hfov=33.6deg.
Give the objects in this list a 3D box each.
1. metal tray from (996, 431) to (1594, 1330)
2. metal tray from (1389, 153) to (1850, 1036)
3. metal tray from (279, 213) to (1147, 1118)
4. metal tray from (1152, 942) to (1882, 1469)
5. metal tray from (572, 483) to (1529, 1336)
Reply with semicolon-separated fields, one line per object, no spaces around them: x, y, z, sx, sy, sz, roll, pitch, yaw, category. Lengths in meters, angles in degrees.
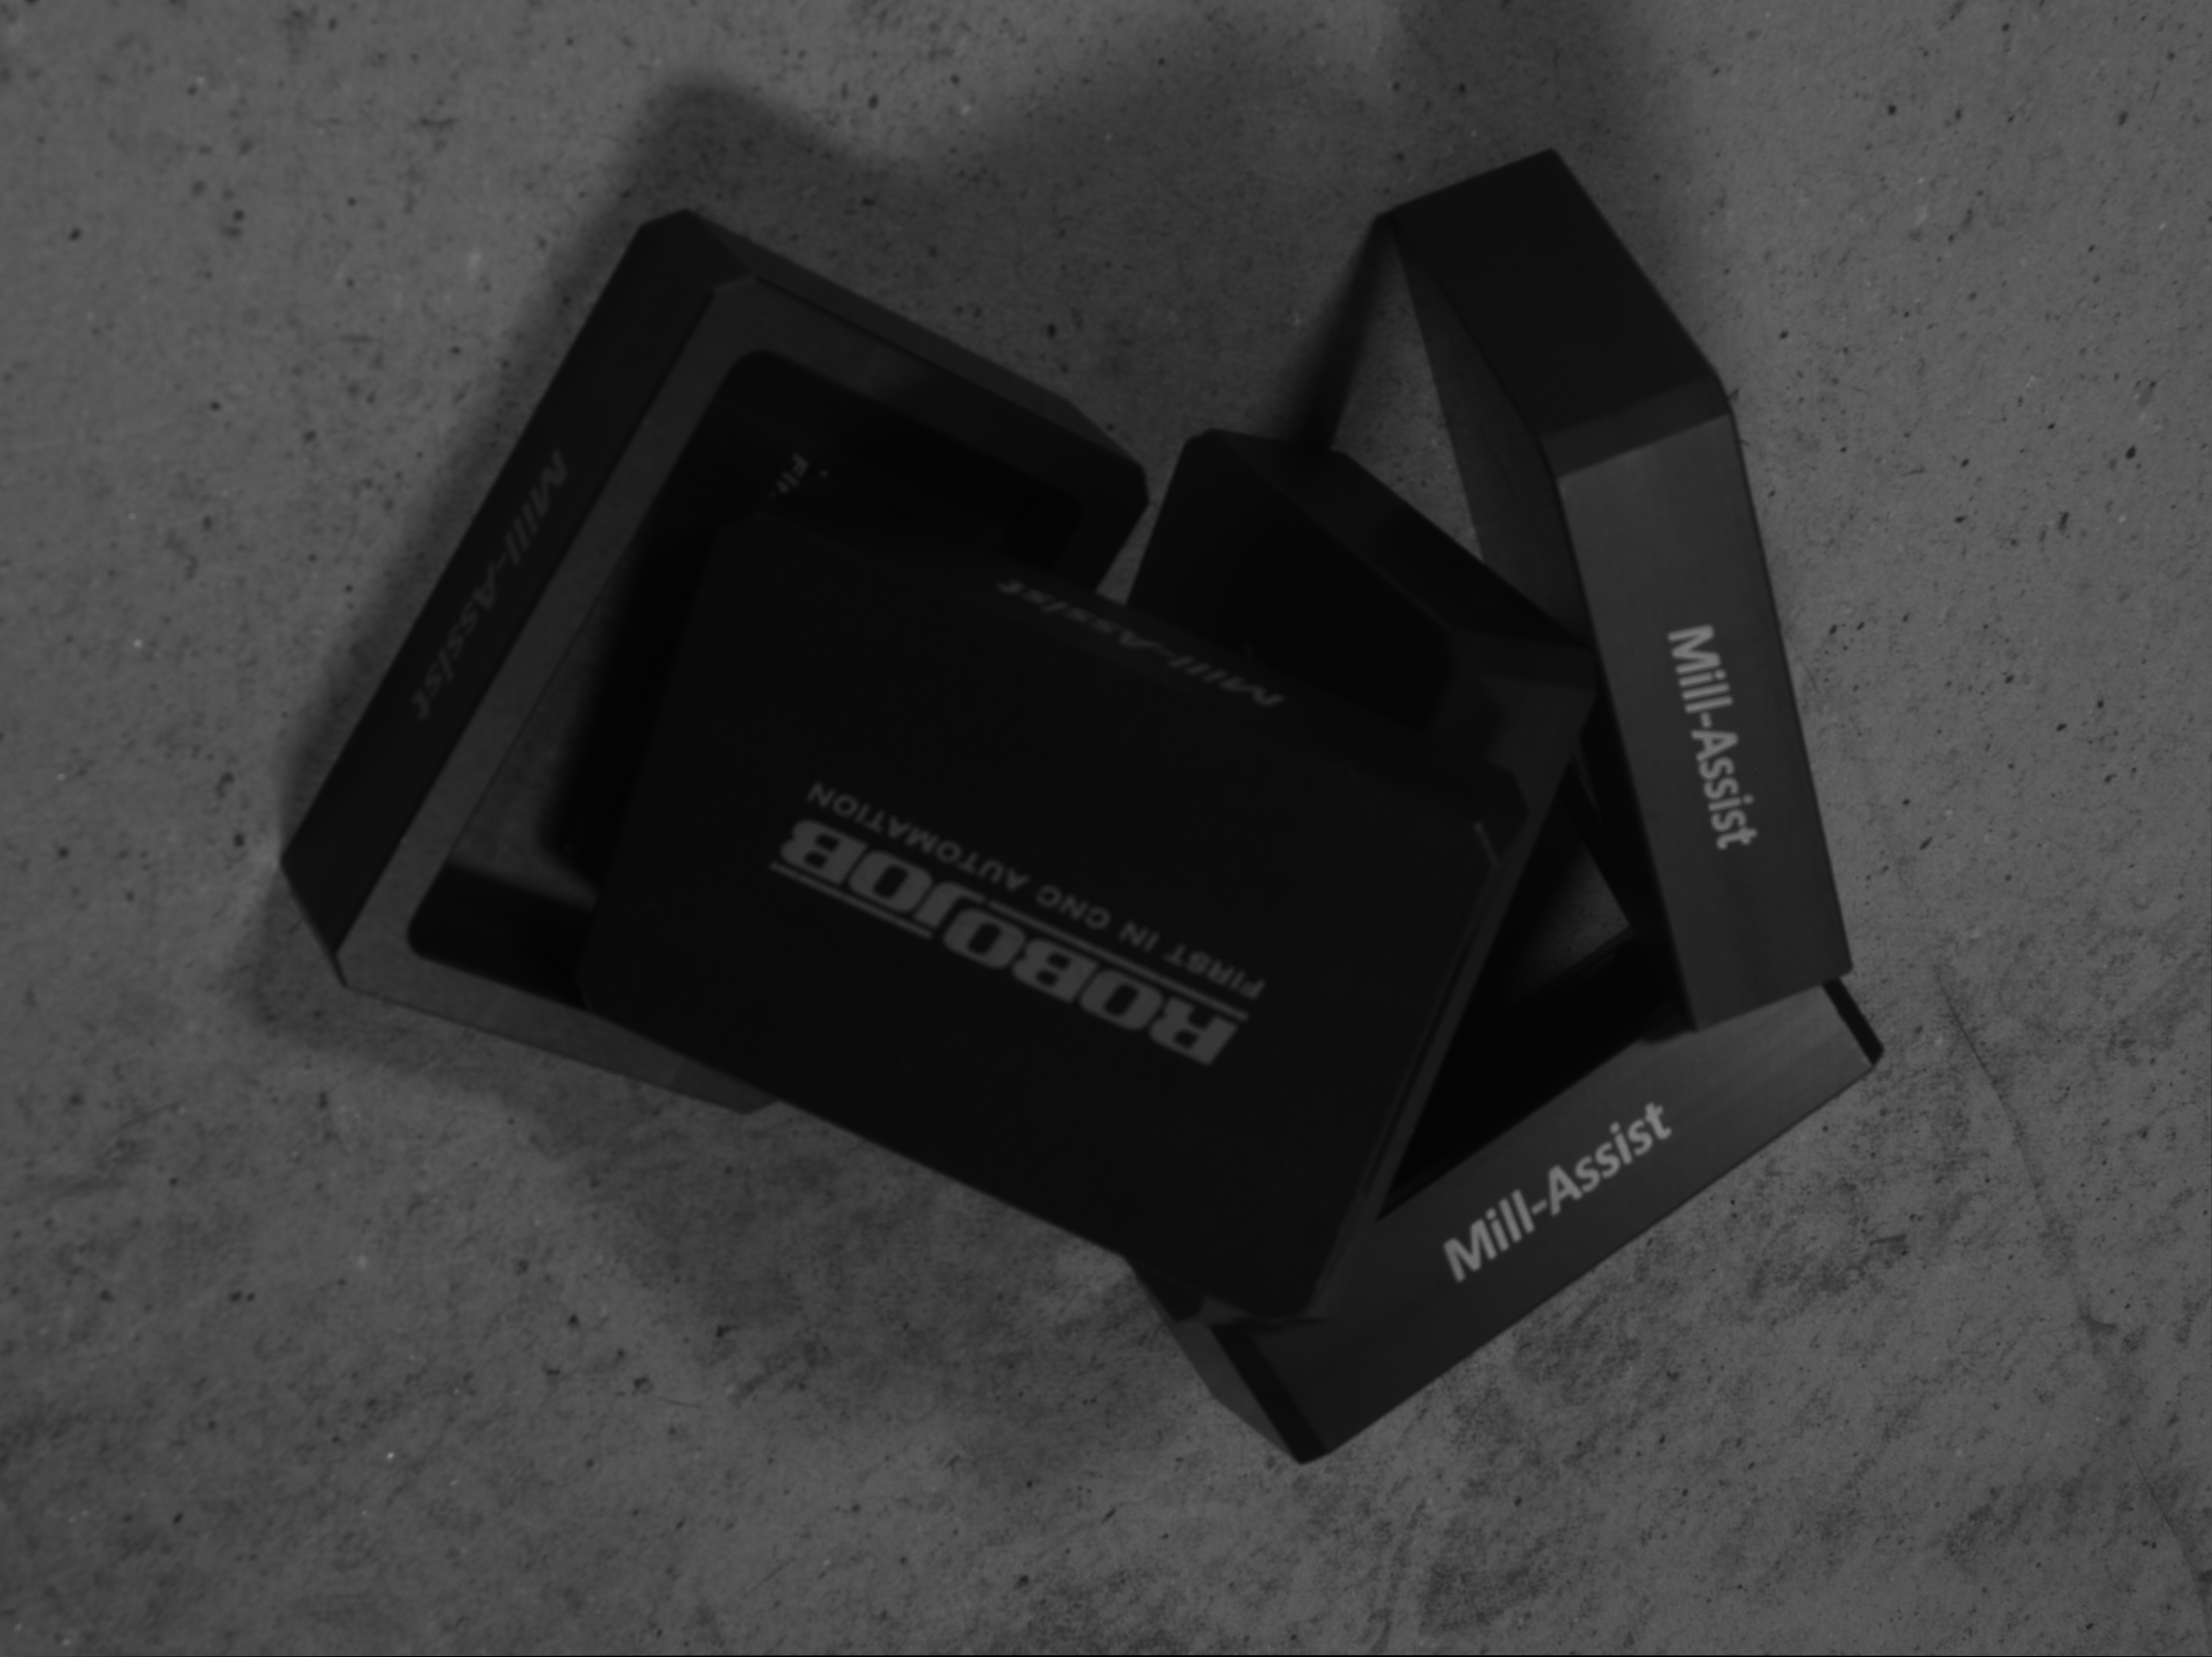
0.026;0.009;0.630;0.030;0.090;0.130;7;115;-33;metal tray
0.089;-0.039;0.633;0.030;0.090;0.130;-21;128;0;metal tray
-0.063;-0.023;0.597;0.090;0.030;0.130;22;105;-38;metal tray
0.073;0.066;0.691;0.130;0.090;0.030;-33;94;-8;metal tray
-0.010;0.012;0.578;0.130;0.030;0.090;24;111;8;metal tray
